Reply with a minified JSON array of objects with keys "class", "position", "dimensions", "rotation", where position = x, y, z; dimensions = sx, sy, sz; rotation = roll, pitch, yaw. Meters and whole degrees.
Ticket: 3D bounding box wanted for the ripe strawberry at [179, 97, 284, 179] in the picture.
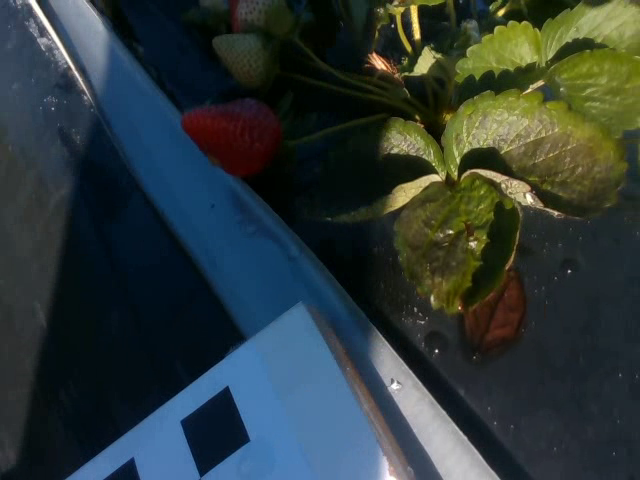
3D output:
[{"class":"ripe strawberry","position":[-0.037,-0.043,0.239],"dimensions":[0.045,0.038,0.036],"rotation":[19,30,-47]}]
